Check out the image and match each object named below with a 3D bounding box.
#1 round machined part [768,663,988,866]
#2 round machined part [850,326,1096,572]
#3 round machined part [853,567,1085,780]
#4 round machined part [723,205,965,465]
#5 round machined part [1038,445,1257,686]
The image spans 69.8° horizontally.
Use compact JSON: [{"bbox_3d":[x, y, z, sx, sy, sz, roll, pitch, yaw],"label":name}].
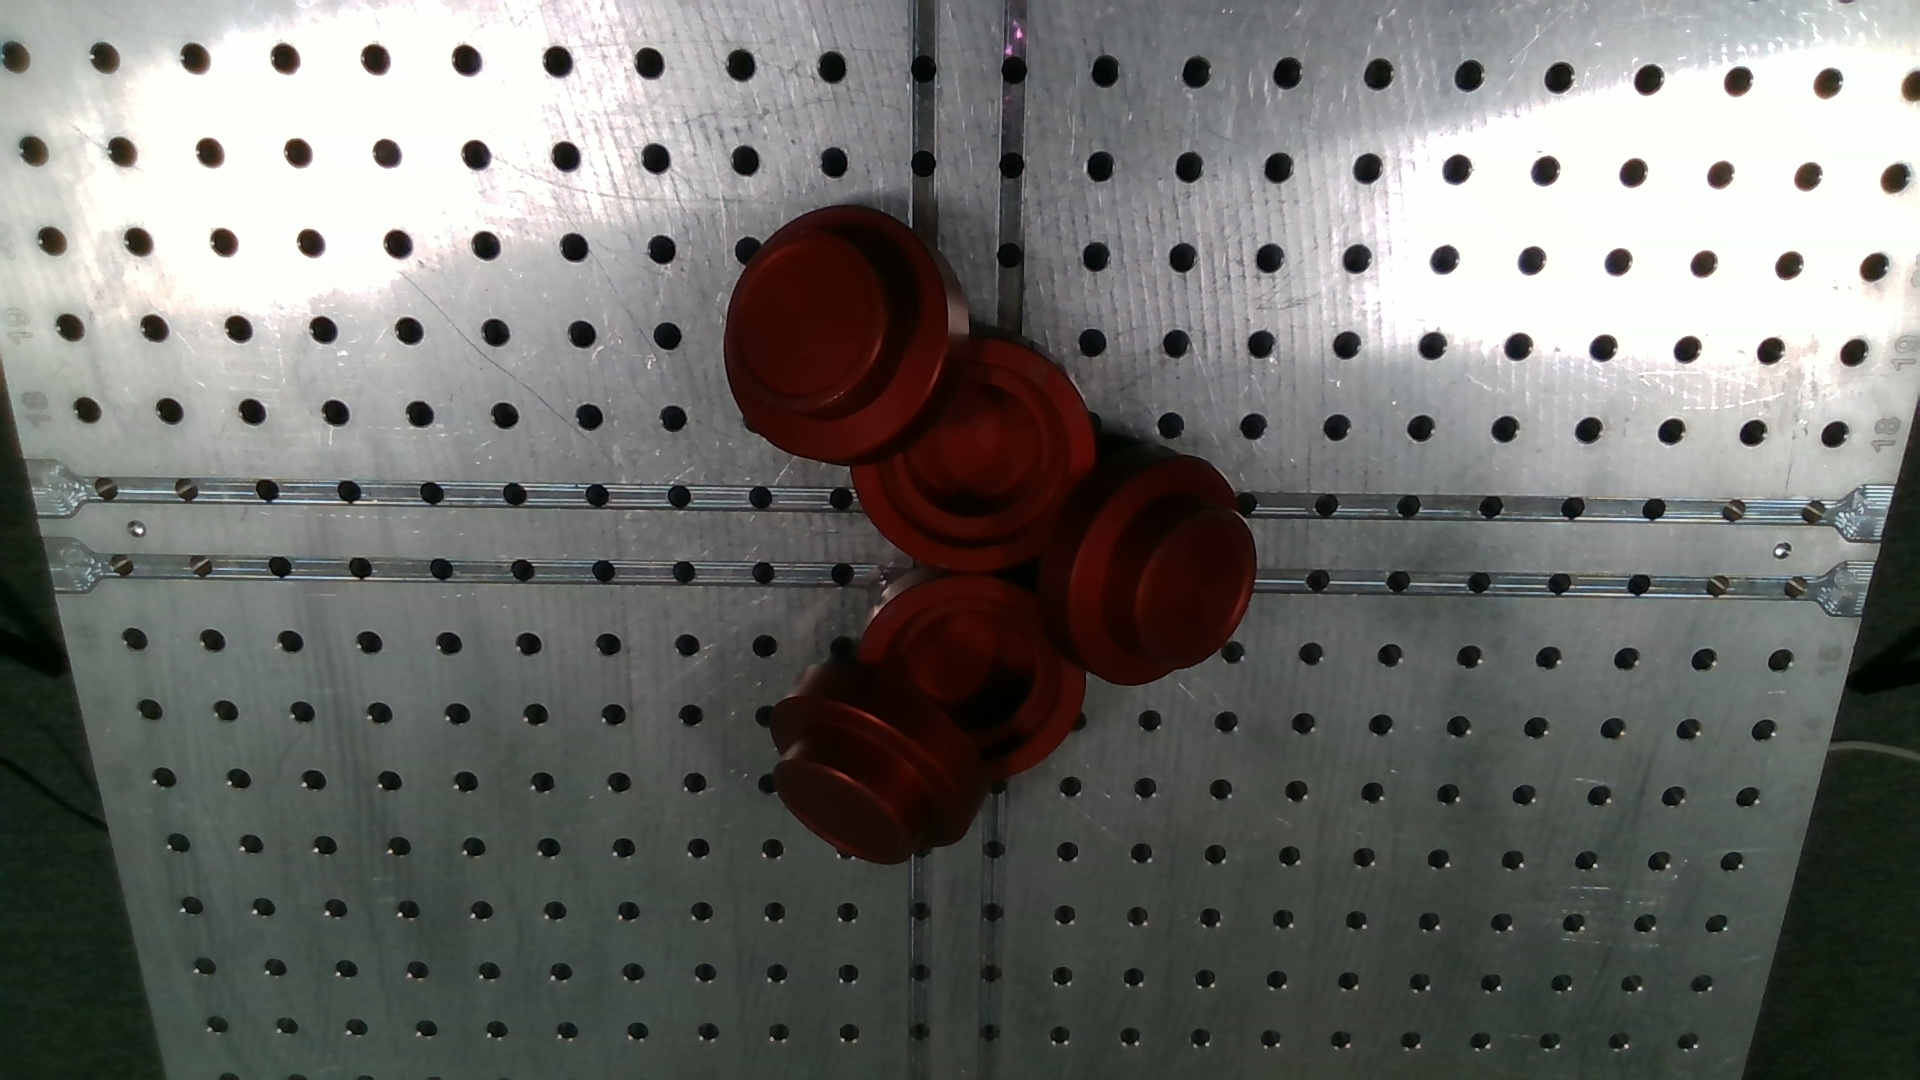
[{"bbox_3d":[-0.040,0.101,0.587,0.098,0.042,0.098,20,141,17],"label":"round machined part"},{"bbox_3d":[0.005,-0.040,0.562,0.098,0.042,0.098,0,110,0],"label":"round machined part"},{"bbox_3d":[0.004,0.052,0.597,0.098,0.042,0.098,0,110,0],"label":"round machined part"},{"bbox_3d":[-0.050,-0.080,0.524,0.098,0.042,0.098,-2,85,24],"label":"round machined part"},{"bbox_3d":[0.082,0.013,0.556,0.098,0.042,0.098,-15,115,-35],"label":"round machined part"}]
